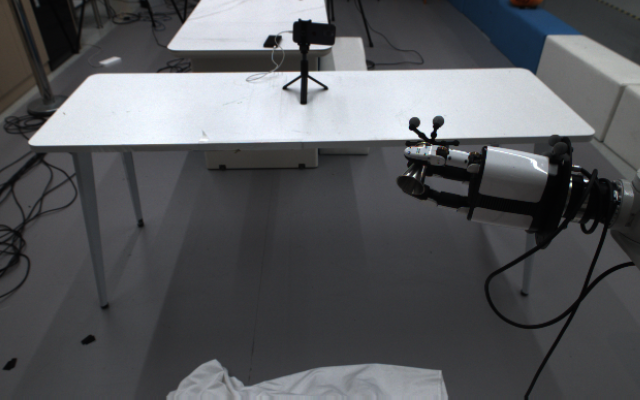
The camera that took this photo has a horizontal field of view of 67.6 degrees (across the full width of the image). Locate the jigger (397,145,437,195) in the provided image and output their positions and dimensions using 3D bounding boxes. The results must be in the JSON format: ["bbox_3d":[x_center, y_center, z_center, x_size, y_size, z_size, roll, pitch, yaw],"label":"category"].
[{"bbox_3d":[0.145,-0.052,0.711,0.043,0.043,0.071,19,61,23],"label":"jigger"}]
